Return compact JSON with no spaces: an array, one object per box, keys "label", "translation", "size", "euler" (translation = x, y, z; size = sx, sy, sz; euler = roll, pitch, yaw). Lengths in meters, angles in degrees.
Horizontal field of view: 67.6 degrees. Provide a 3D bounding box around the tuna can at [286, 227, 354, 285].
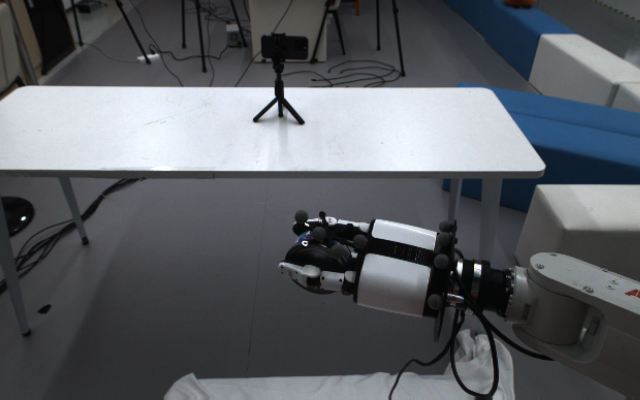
[{"label":"tuna can","translation":[0.001,0.081,0.643],"size":[0.085,0.085,0.034],"euler":[12,33,14]}]
